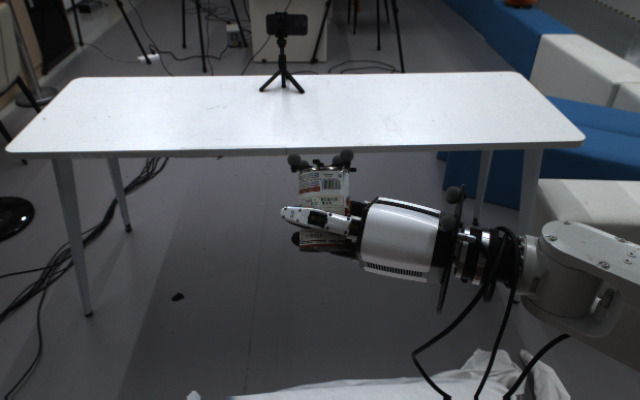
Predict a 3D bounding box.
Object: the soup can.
[{"bbox_3d":[0.008,0.015,0.616,0.067,0.101,0.067,-1,-9,0],"label":"soup can"}]
